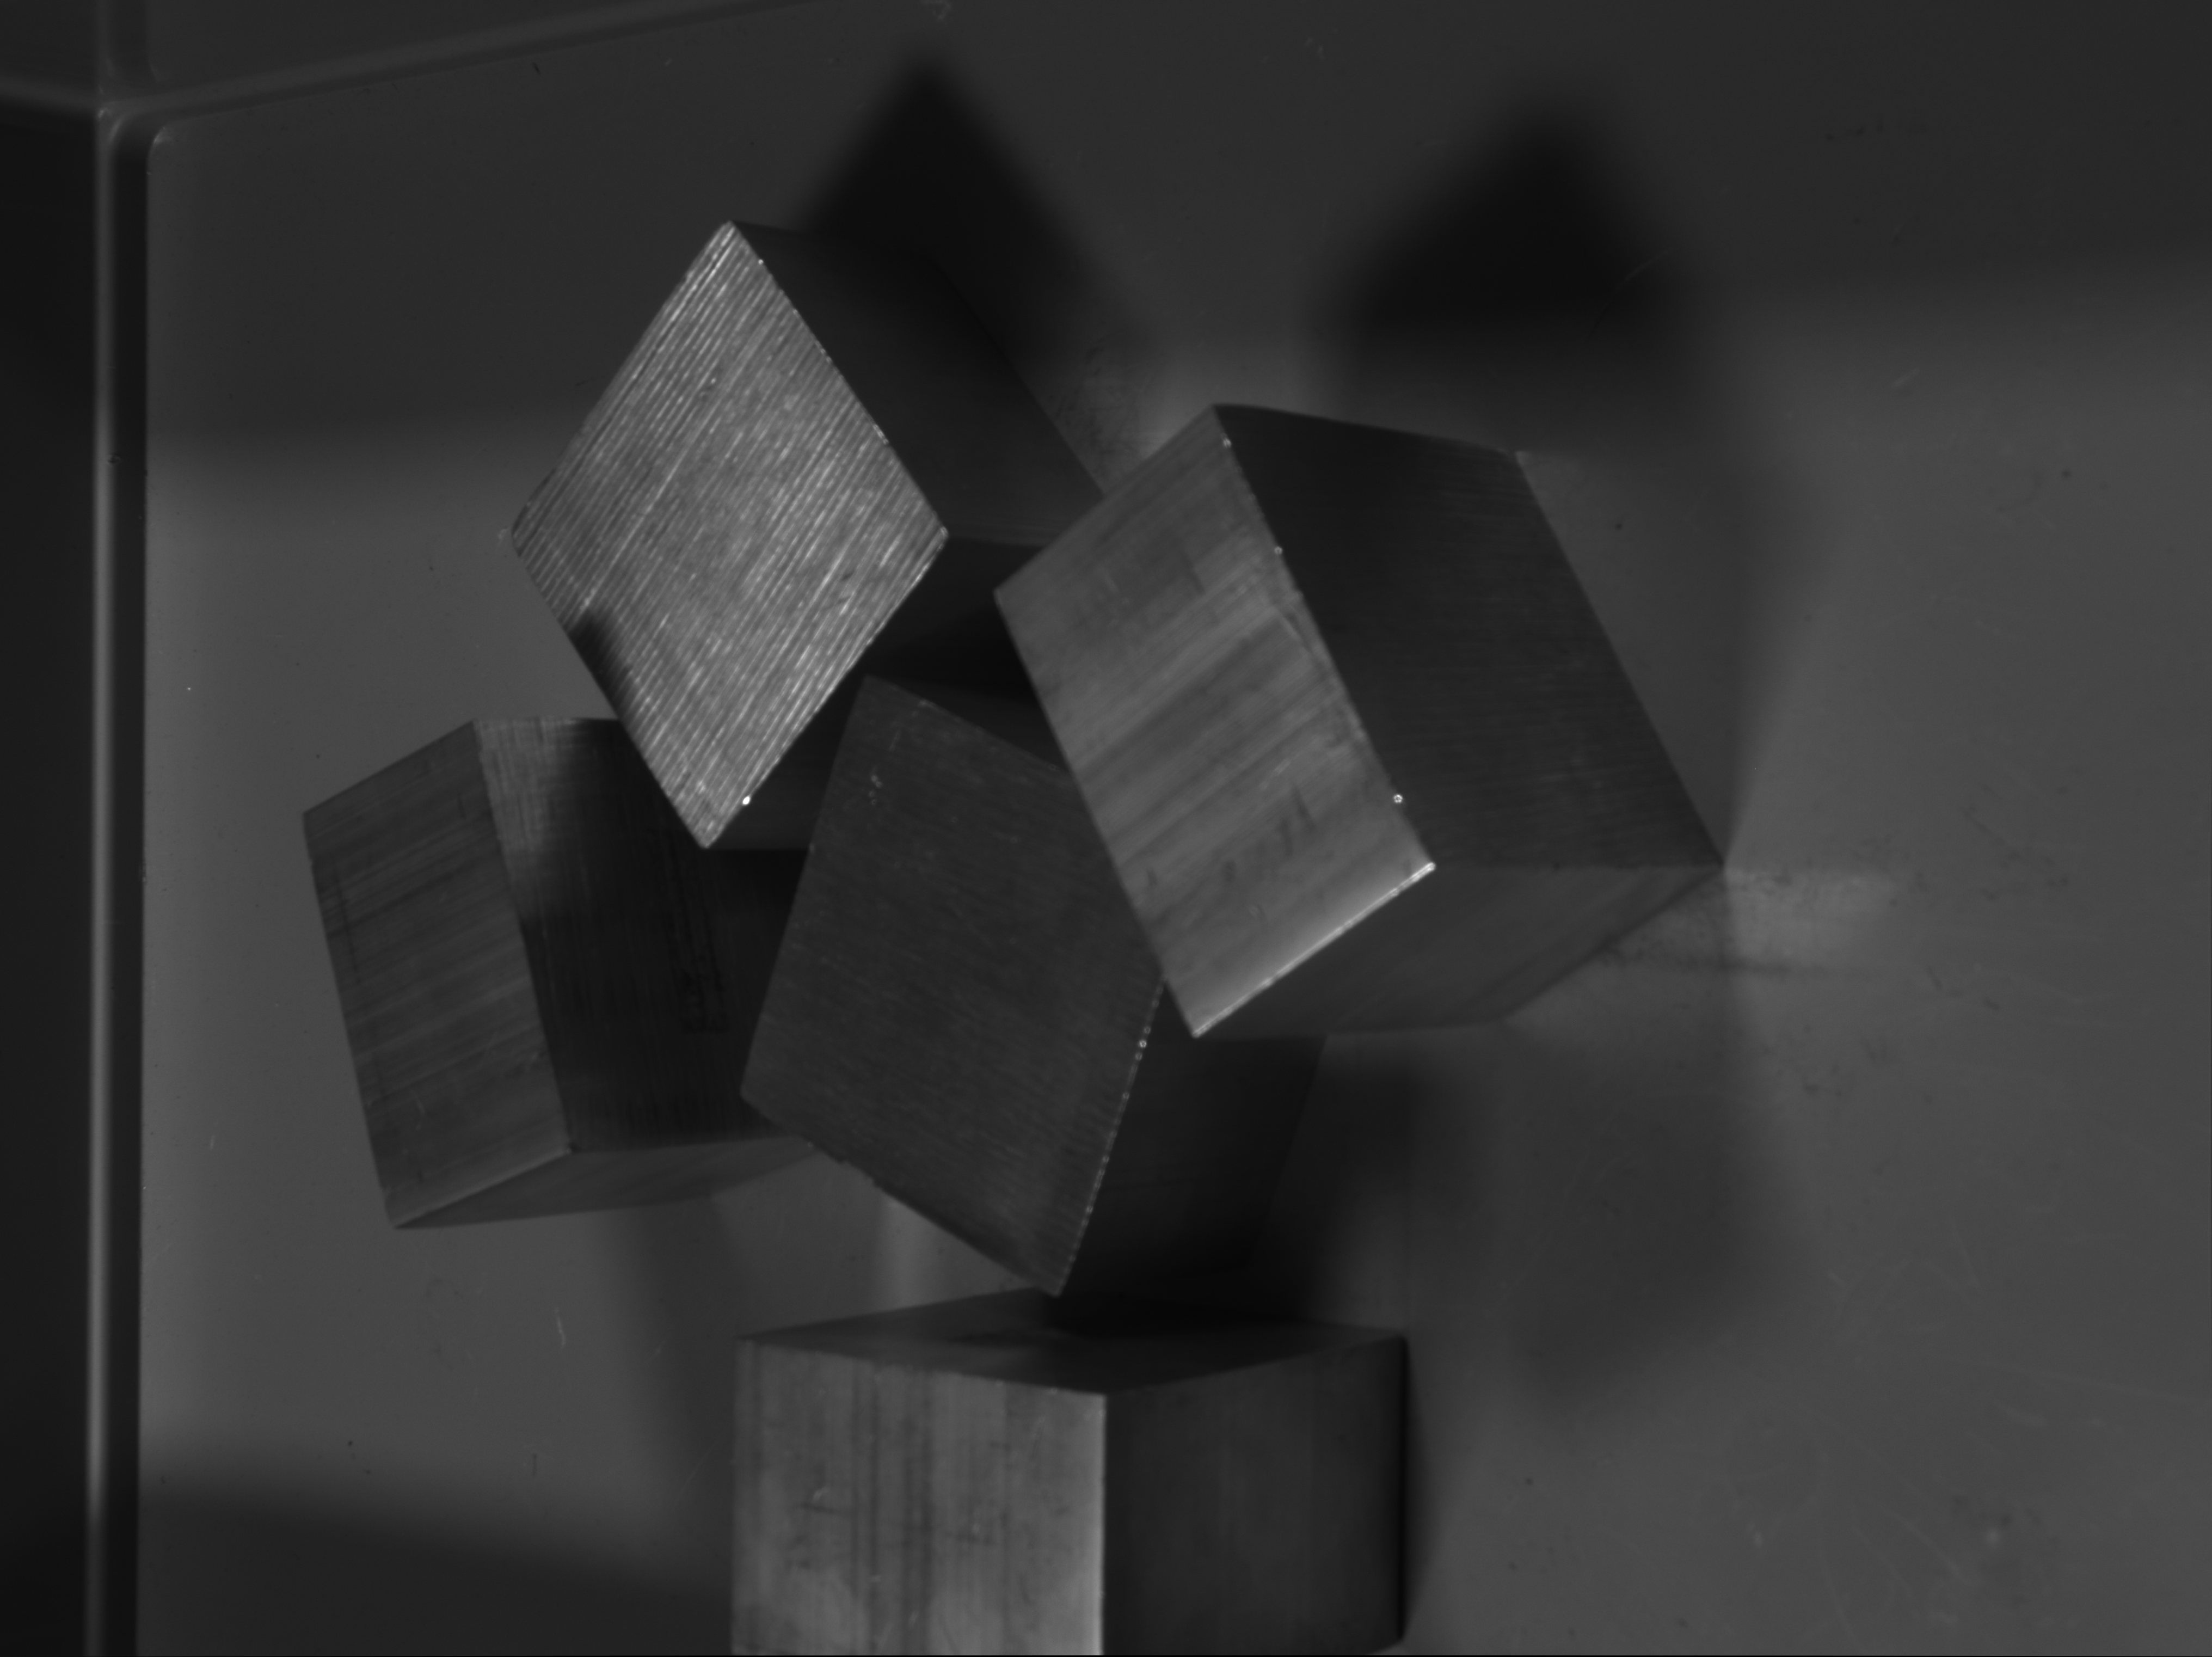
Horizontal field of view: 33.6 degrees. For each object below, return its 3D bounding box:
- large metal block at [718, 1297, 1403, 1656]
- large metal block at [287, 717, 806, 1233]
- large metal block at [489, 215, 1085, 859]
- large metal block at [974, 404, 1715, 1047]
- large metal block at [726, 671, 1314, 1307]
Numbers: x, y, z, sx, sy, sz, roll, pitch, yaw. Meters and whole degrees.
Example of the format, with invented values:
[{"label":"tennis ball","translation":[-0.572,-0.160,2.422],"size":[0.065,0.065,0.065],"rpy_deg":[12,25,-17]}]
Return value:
[{"label":"large metal block","translation":[-0.007,0.110,0.606],"size":[0.080,0.080,0.050],"rpy_deg":[1,90,39]},{"label":"large metal block","translation":[-0.096,0.027,0.679],"size":[0.050,0.080,0.080],"rpy_deg":[-24,75,37]},{"label":"large metal block","translation":[-0.055,-0.051,0.664],"size":[0.080,0.050,0.080],"rpy_deg":[-50,61,28]},{"label":"large metal block","translation":[0.037,-0.015,0.568],"size":[0.050,0.080,0.080],"rpy_deg":[-38,67,33]},{"label":"large metal block","translation":[-0.010,0.025,0.627],"size":[0.080,0.050,0.080],"rpy_deg":[28,107,36]}]
